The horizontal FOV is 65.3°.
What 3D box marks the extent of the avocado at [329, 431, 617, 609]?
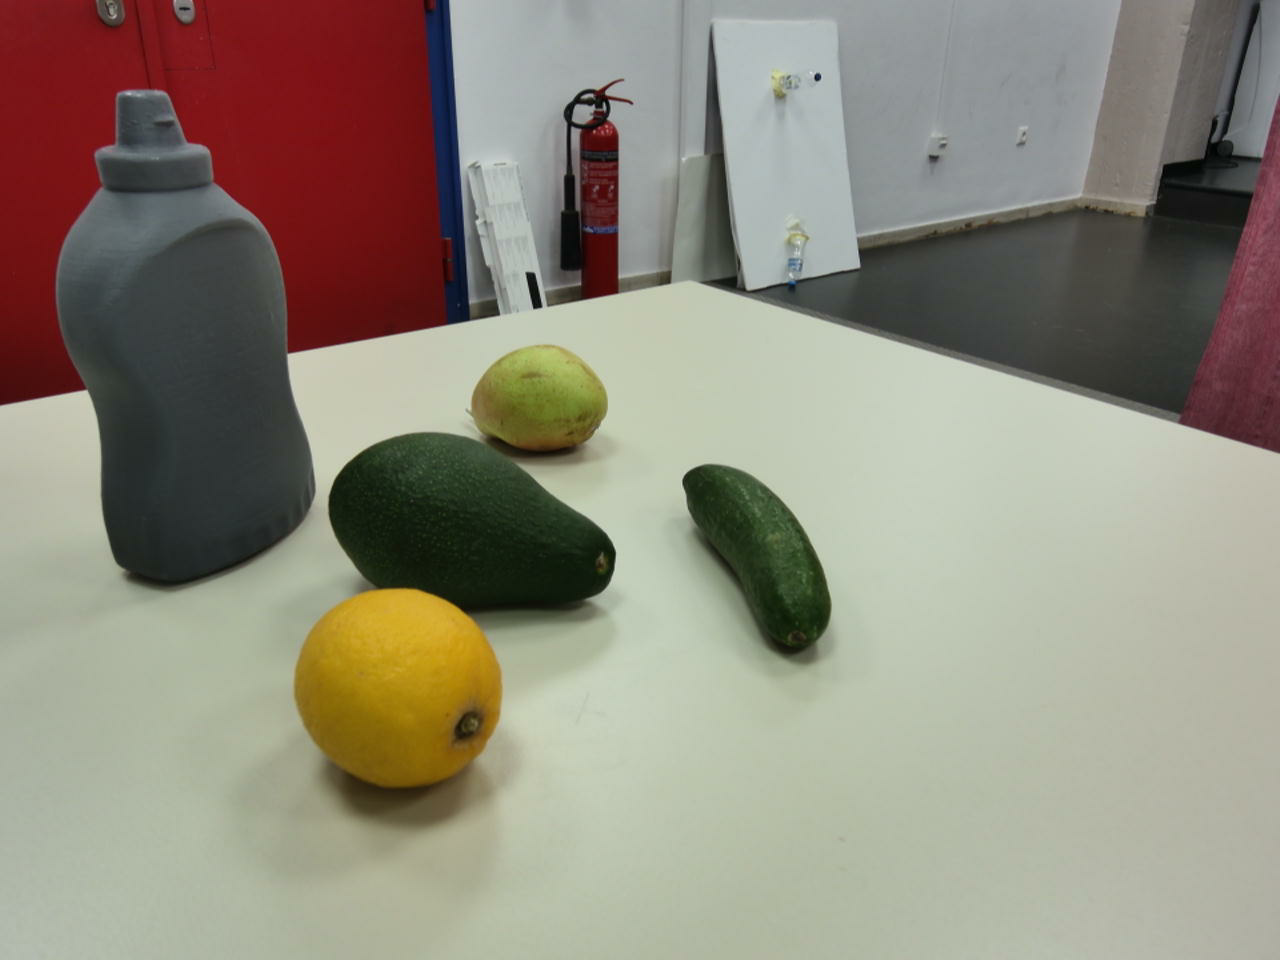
[{"bbox_3d":[-0.070,0.018,0.403,0.110,0.071,0.072,12,26,25],"label":"avocado"}]
